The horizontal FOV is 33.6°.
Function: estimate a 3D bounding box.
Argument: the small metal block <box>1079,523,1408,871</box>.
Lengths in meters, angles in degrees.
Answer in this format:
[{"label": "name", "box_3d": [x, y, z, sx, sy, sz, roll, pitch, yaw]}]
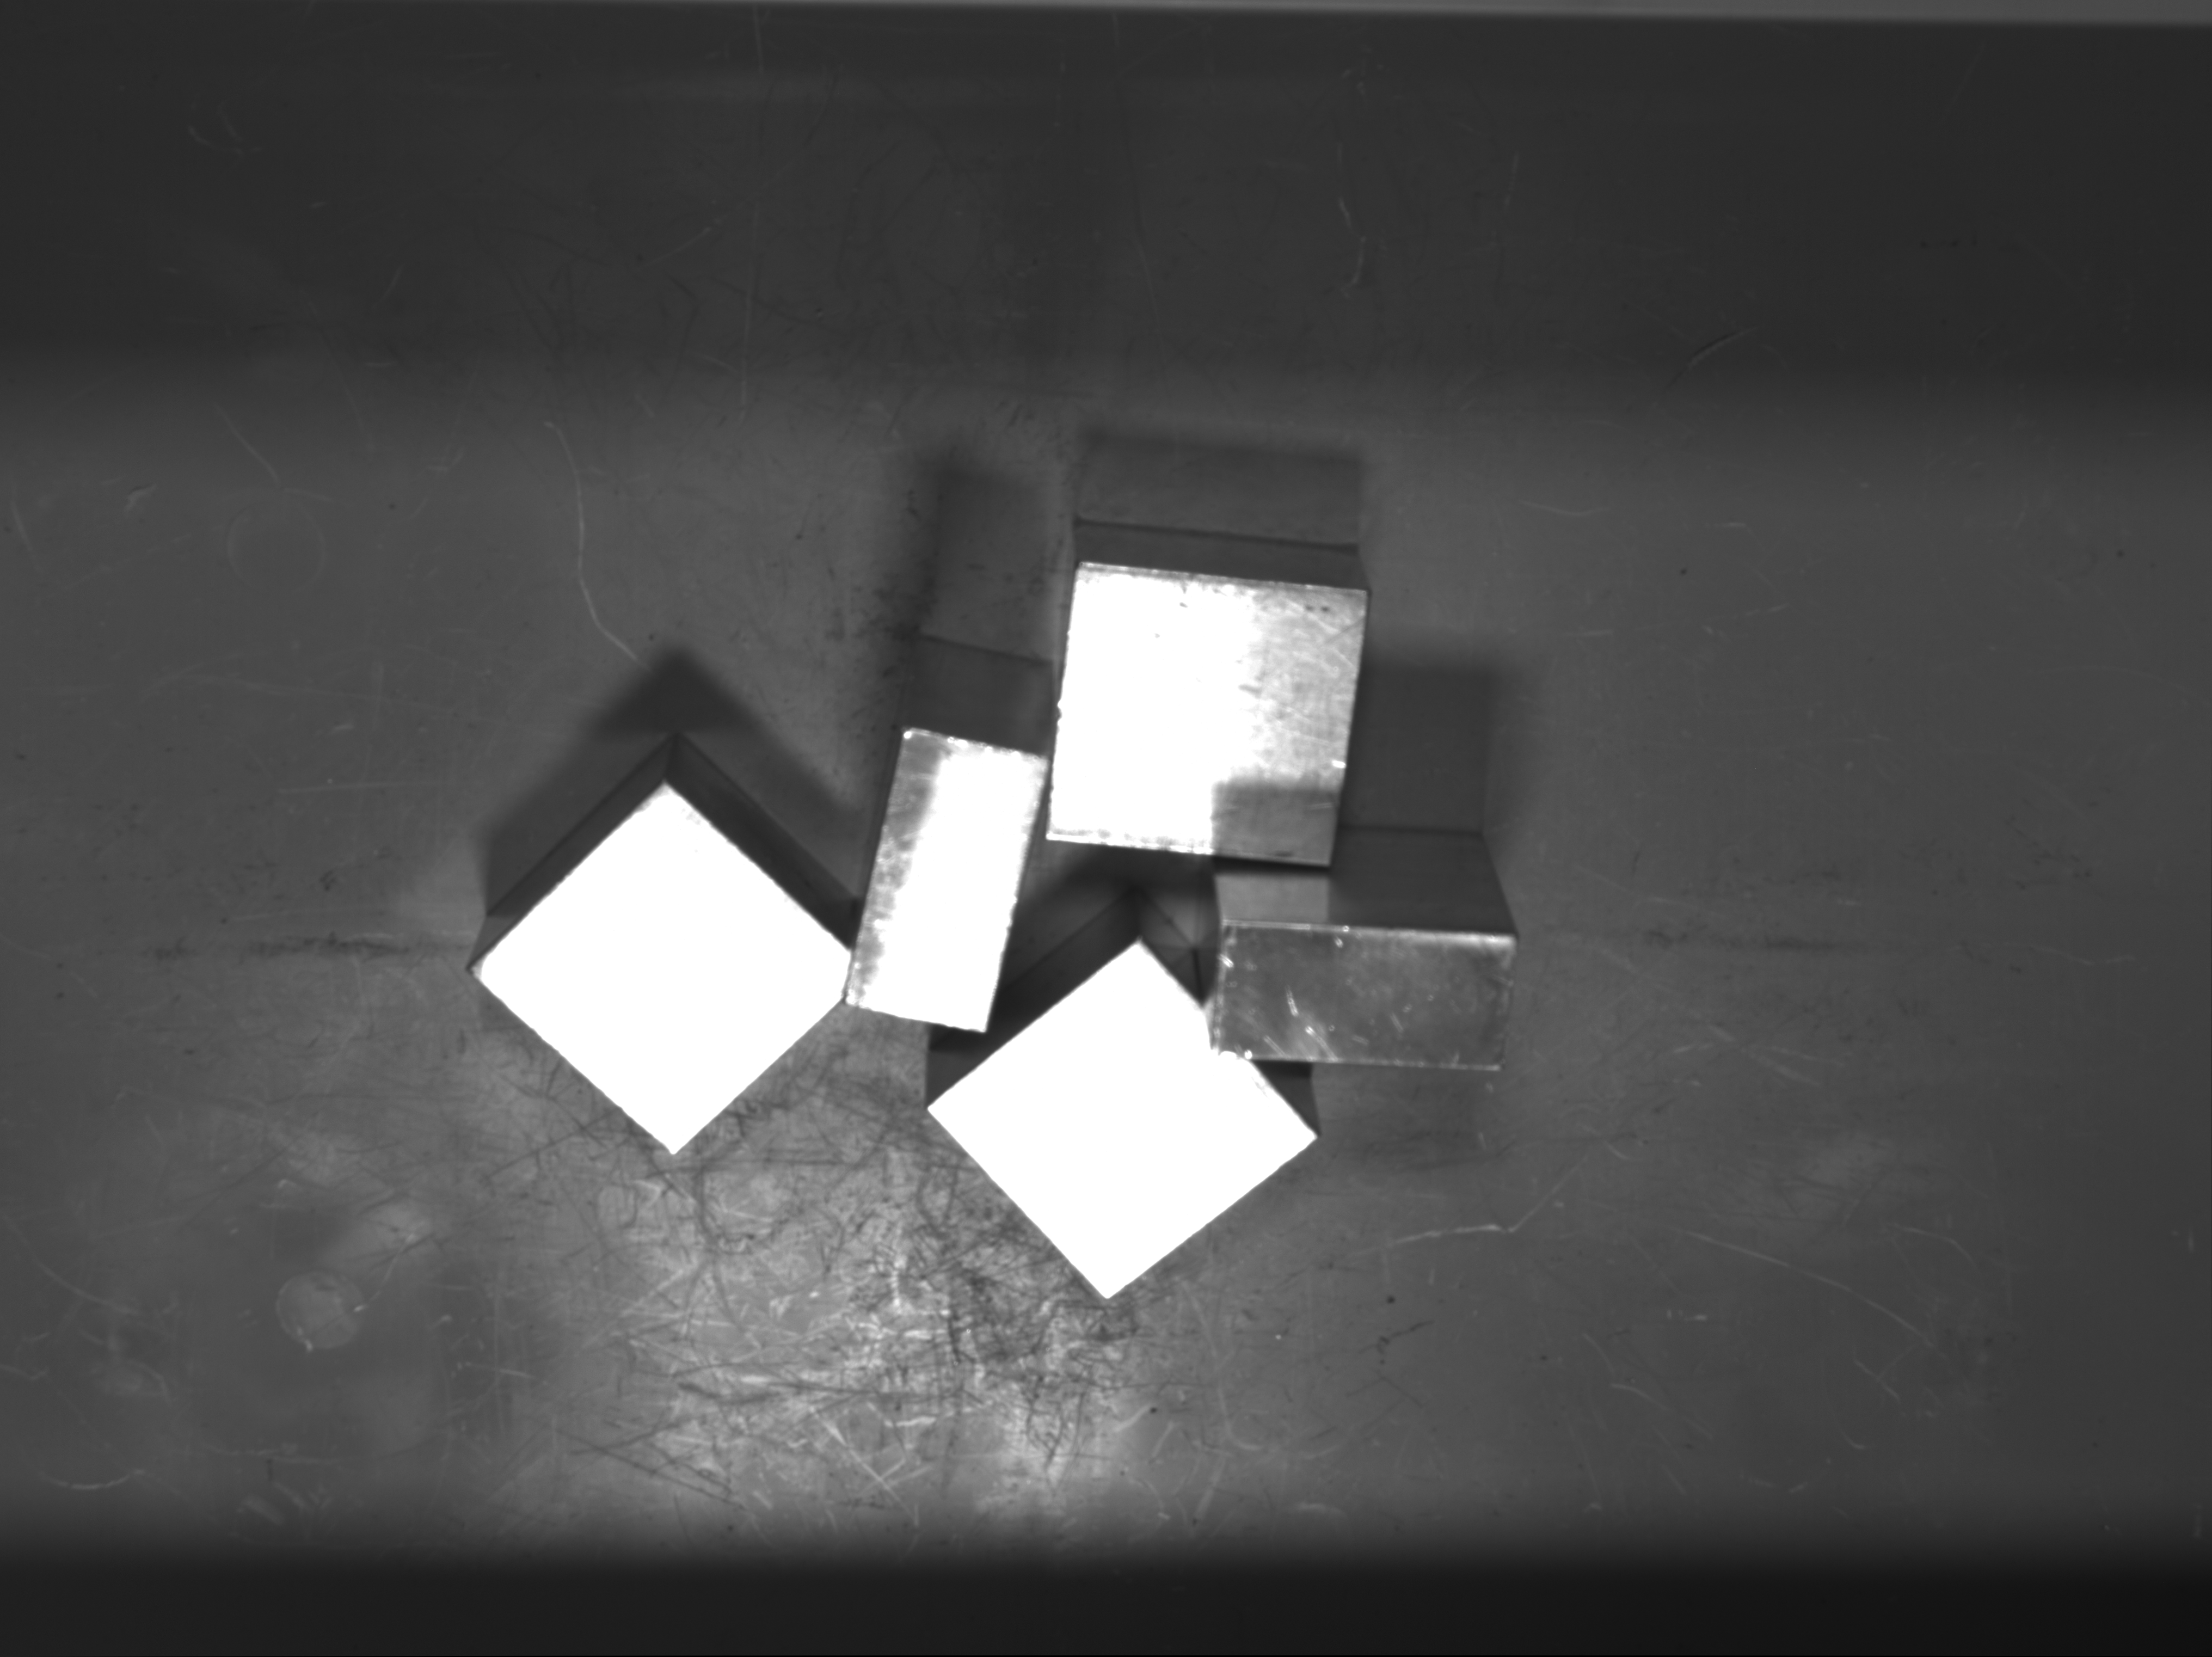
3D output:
[{"label": "small metal block", "box_3d": [0.023, -0.023, 0.634, 0.050, 0.025, 0.050, 6, 110, -3]}]

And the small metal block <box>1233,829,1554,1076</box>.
[{"label": "small metal block", "box_3d": [0.049, 0.020, 0.636, 0.050, 0.050, 0.025, 3, 110, -2]}]

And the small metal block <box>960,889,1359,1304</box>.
[{"label": "small metal block", "box_3d": [0.009, 0.048, 0.659, 0.050, 0.025, 0.050, -39, 106, 12]}]

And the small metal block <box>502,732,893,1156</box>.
[{"label": "small metal block", "box_3d": [-0.070, 0.020, 0.648, 0.050, 0.025, 0.050, -43, 105, 13]}]

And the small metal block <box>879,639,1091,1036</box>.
[{"label": "small metal block", "box_3d": [-0.020, 0.001, 0.628, 0.025, 0.050, 0.050, 12, 109, -5]}]
